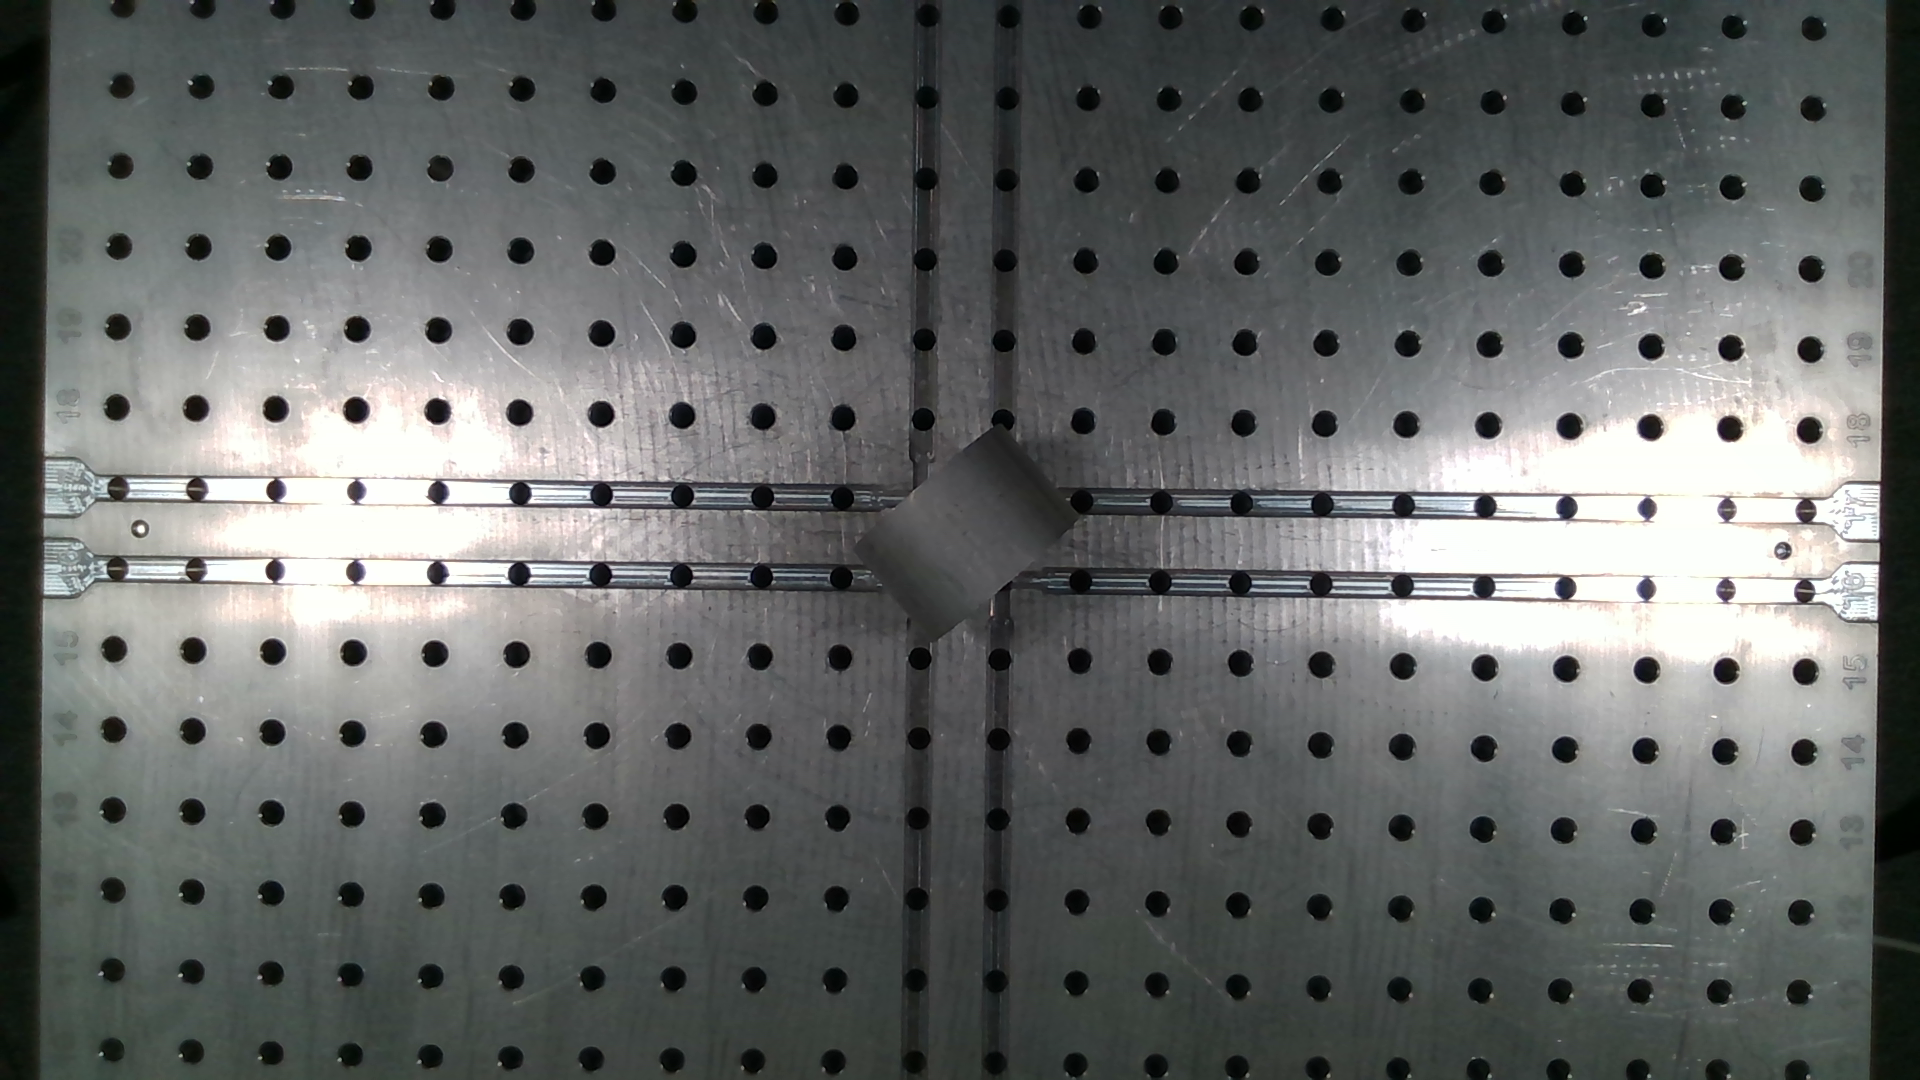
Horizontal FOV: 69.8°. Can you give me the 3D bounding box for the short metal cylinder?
[{"bbox_3d":[0.002,-0.003,0.561,0.080,0.080,0.050,-40,90,0],"label":"short metal cylinder"}]
